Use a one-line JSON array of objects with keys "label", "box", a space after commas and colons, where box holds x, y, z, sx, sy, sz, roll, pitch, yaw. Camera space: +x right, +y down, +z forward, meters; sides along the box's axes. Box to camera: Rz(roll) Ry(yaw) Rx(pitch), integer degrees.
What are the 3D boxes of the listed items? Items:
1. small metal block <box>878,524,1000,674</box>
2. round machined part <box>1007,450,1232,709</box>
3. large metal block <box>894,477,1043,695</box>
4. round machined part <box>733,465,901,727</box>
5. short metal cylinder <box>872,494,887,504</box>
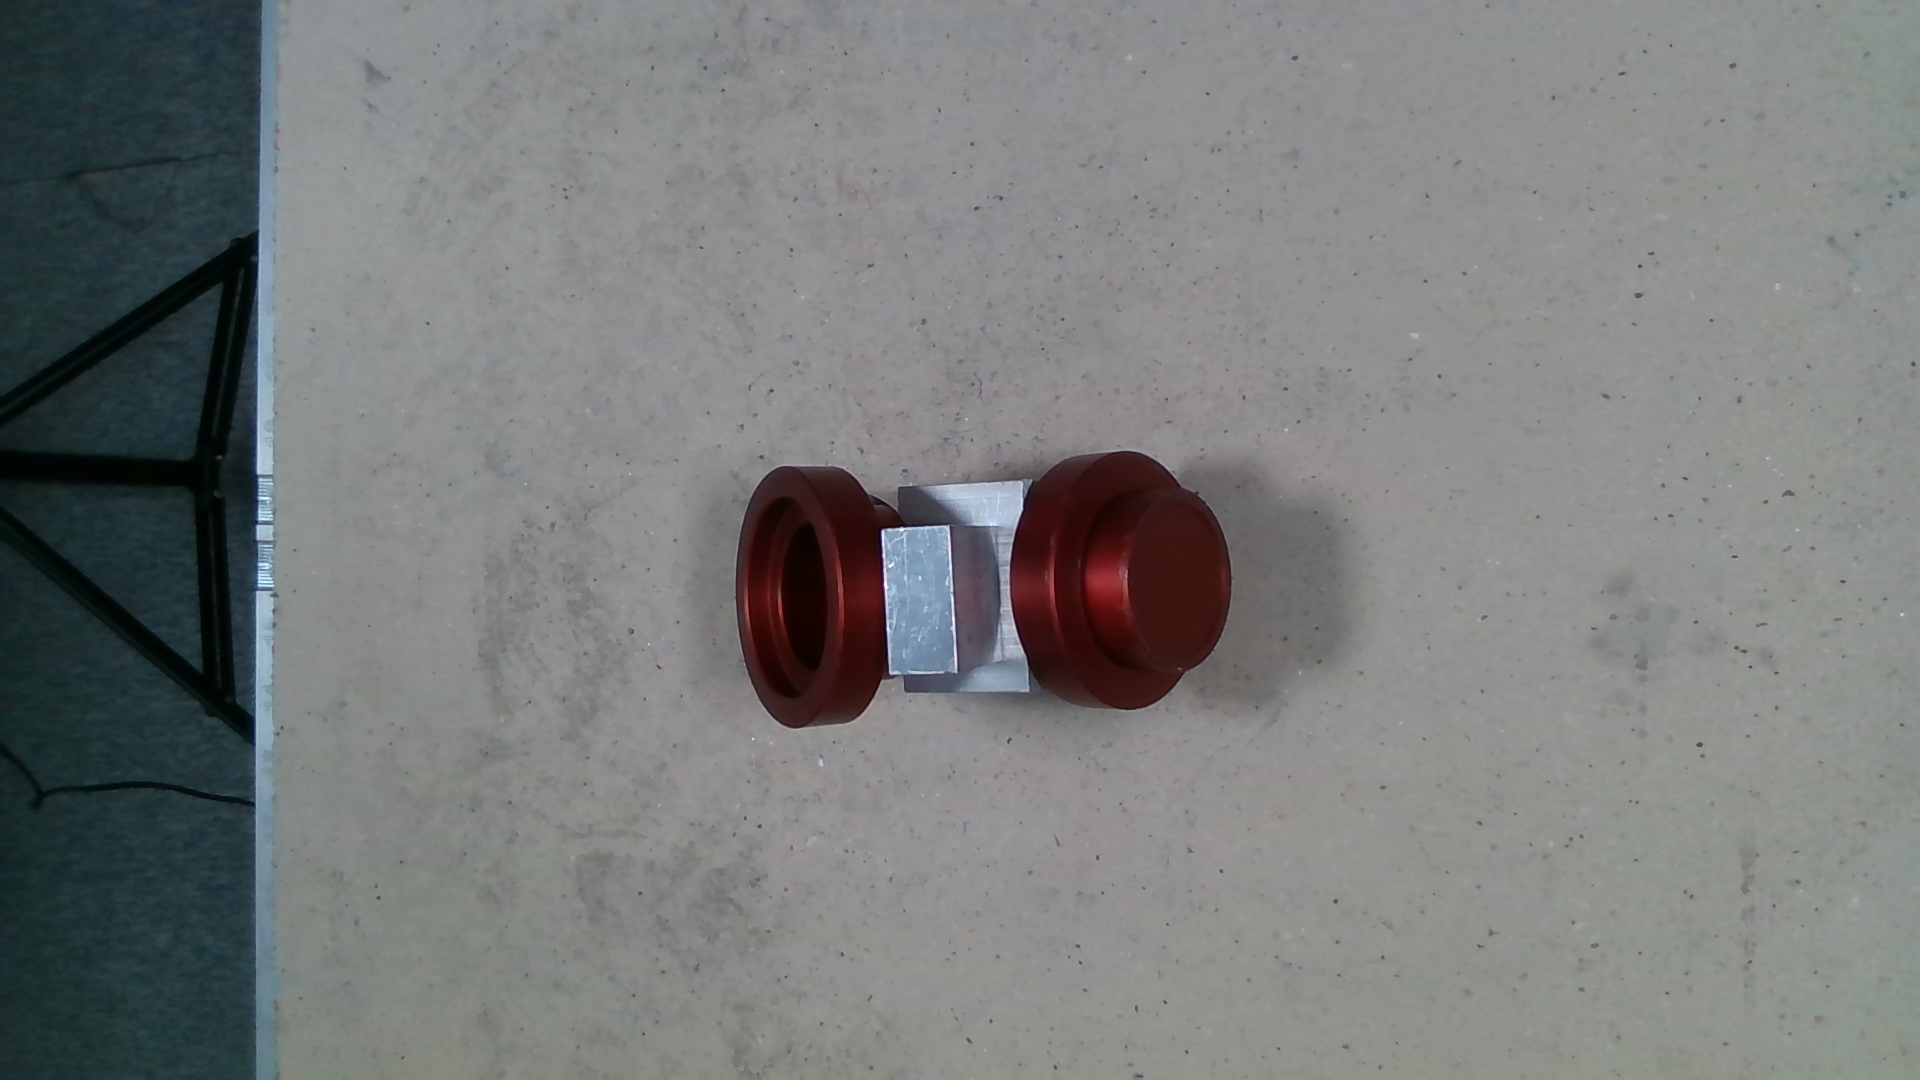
[{"label": "small metal block", "box": [-0.006, 0.020, 0.489, 0.025, 0.050, 0.050, -3, 89, 20]}, {"label": "round machined part", "box": [0.066, 0.015, 0.518, 0.042, 0.098, 0.098, -3, 89, 45]}, {"label": "large metal block", "box": [0.014, 0.018, 0.551, 0.050, 0.080, 0.080, -2, 90, 20]}, {"label": "round machined part", "box": [-0.049, 0.021, 0.524, 0.098, 0.042, 0.098, 4, 95, 59]}, {"label": "short metal cylinder", "box": [-0.042, 0.018, 0.589, 0.080, 0.050, 0.080, 0, 90, 20]}]
